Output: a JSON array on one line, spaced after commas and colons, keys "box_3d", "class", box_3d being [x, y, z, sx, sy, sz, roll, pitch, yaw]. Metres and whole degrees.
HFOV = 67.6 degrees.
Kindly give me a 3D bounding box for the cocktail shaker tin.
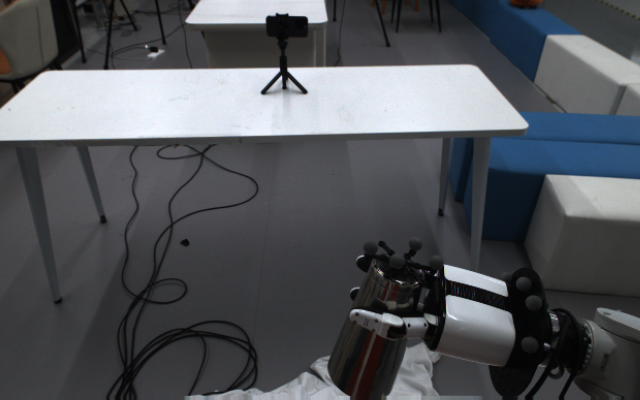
[{"box_3d": [0.078, 0.153, 0.612, 0.093, 0.170, 0.093, 12, 25, -6], "class": "cocktail shaker tin"}]
